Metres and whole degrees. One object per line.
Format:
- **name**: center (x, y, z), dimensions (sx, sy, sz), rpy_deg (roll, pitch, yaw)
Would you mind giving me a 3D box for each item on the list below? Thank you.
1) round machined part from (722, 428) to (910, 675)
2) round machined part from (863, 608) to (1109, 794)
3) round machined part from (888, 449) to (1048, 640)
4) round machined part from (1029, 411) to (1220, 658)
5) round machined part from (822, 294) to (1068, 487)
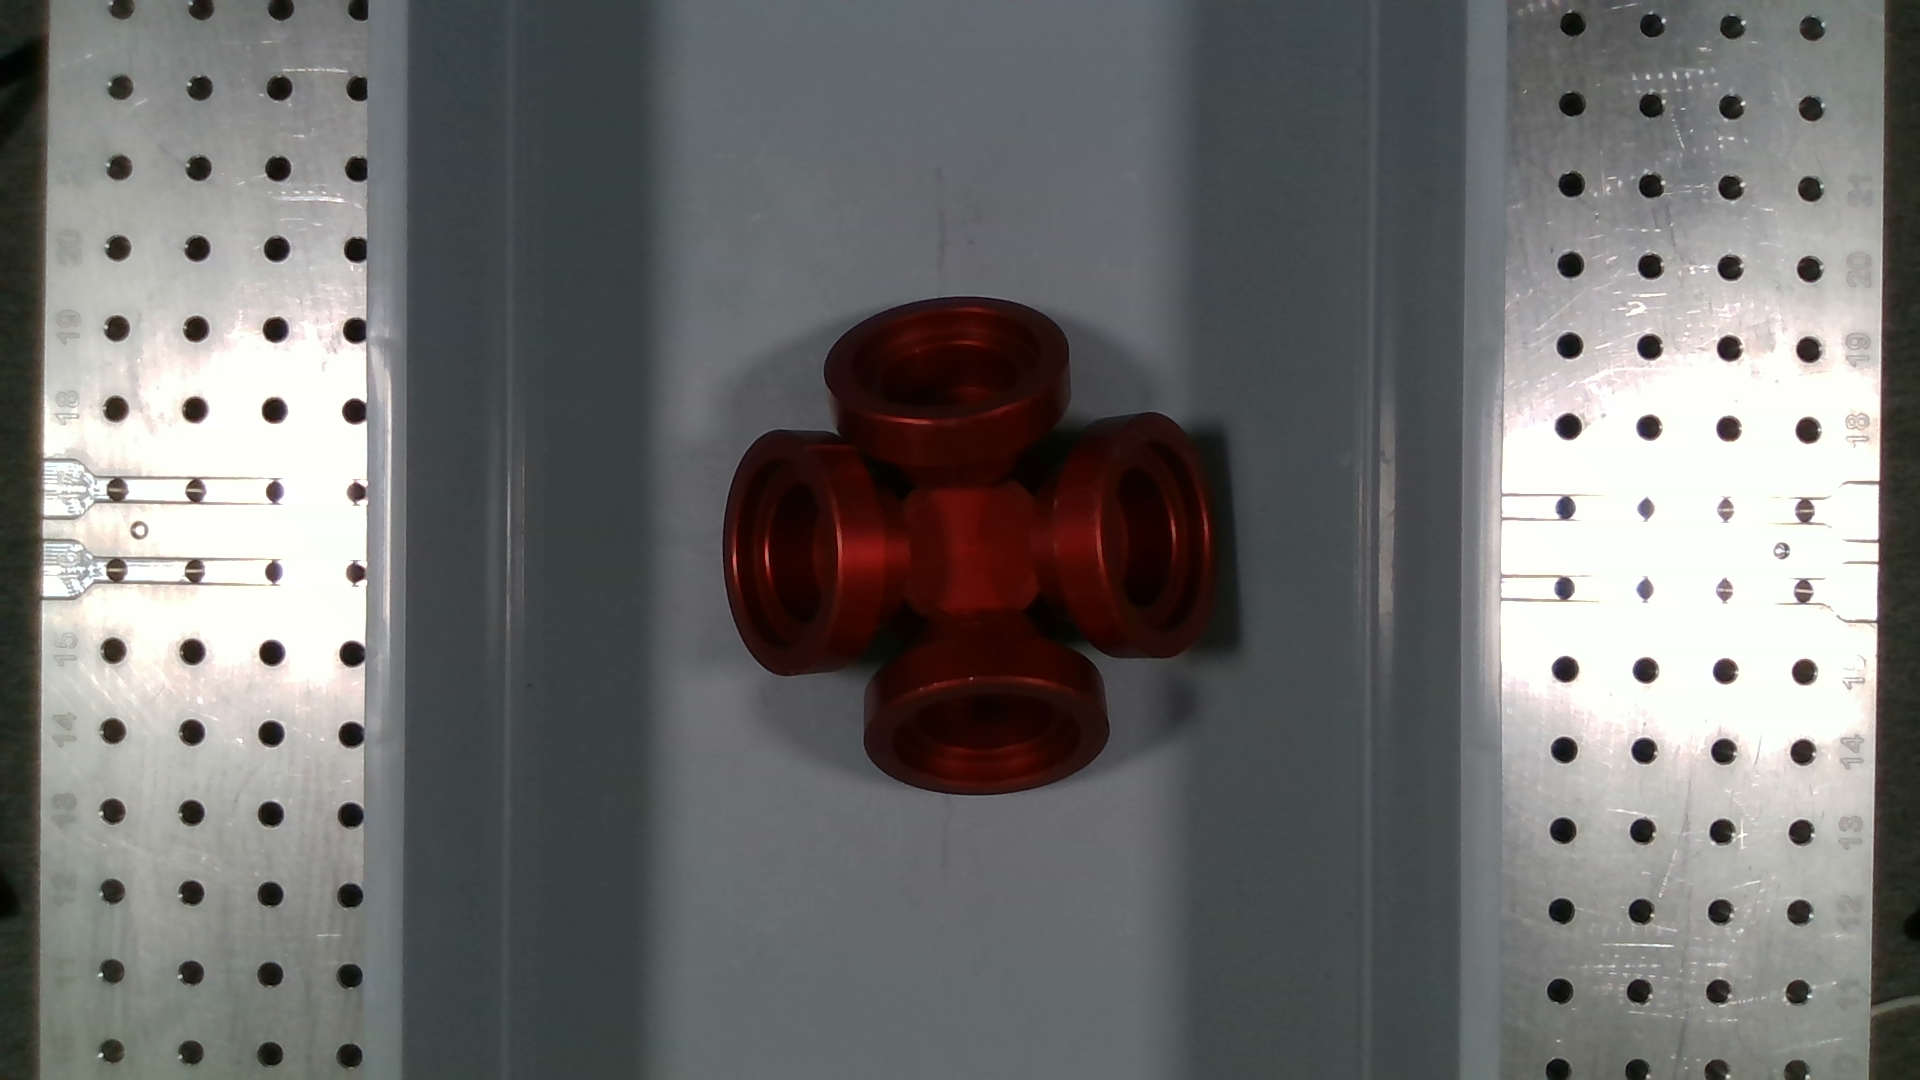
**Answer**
- **round machined part**: center (-0.056, 0.004, 0.558), dimensions (0.042, 0.098, 0.098), rpy_deg (-2, 90, -36)
- **round machined part**: center (0.010, 0.063, 0.560), dimensions (0.098, 0.098, 0.042), rpy_deg (-3, 54, 0)
- **round machined part**: center (0.004, 0.003, 0.577), dimensions (0.098, 0.042, 0.098), rpy_deg (0, 90, 0)
- **round machined part**: center (0.064, -0.001, 0.559), dimensions (0.042, 0.098, 0.098), rpy_deg (-4, 90, 38)
- **round machined part**: center (-0.004, -0.058, 0.558), dimensions (0.098, 0.098, 0.042), rpy_deg (-6, 128, 0)
